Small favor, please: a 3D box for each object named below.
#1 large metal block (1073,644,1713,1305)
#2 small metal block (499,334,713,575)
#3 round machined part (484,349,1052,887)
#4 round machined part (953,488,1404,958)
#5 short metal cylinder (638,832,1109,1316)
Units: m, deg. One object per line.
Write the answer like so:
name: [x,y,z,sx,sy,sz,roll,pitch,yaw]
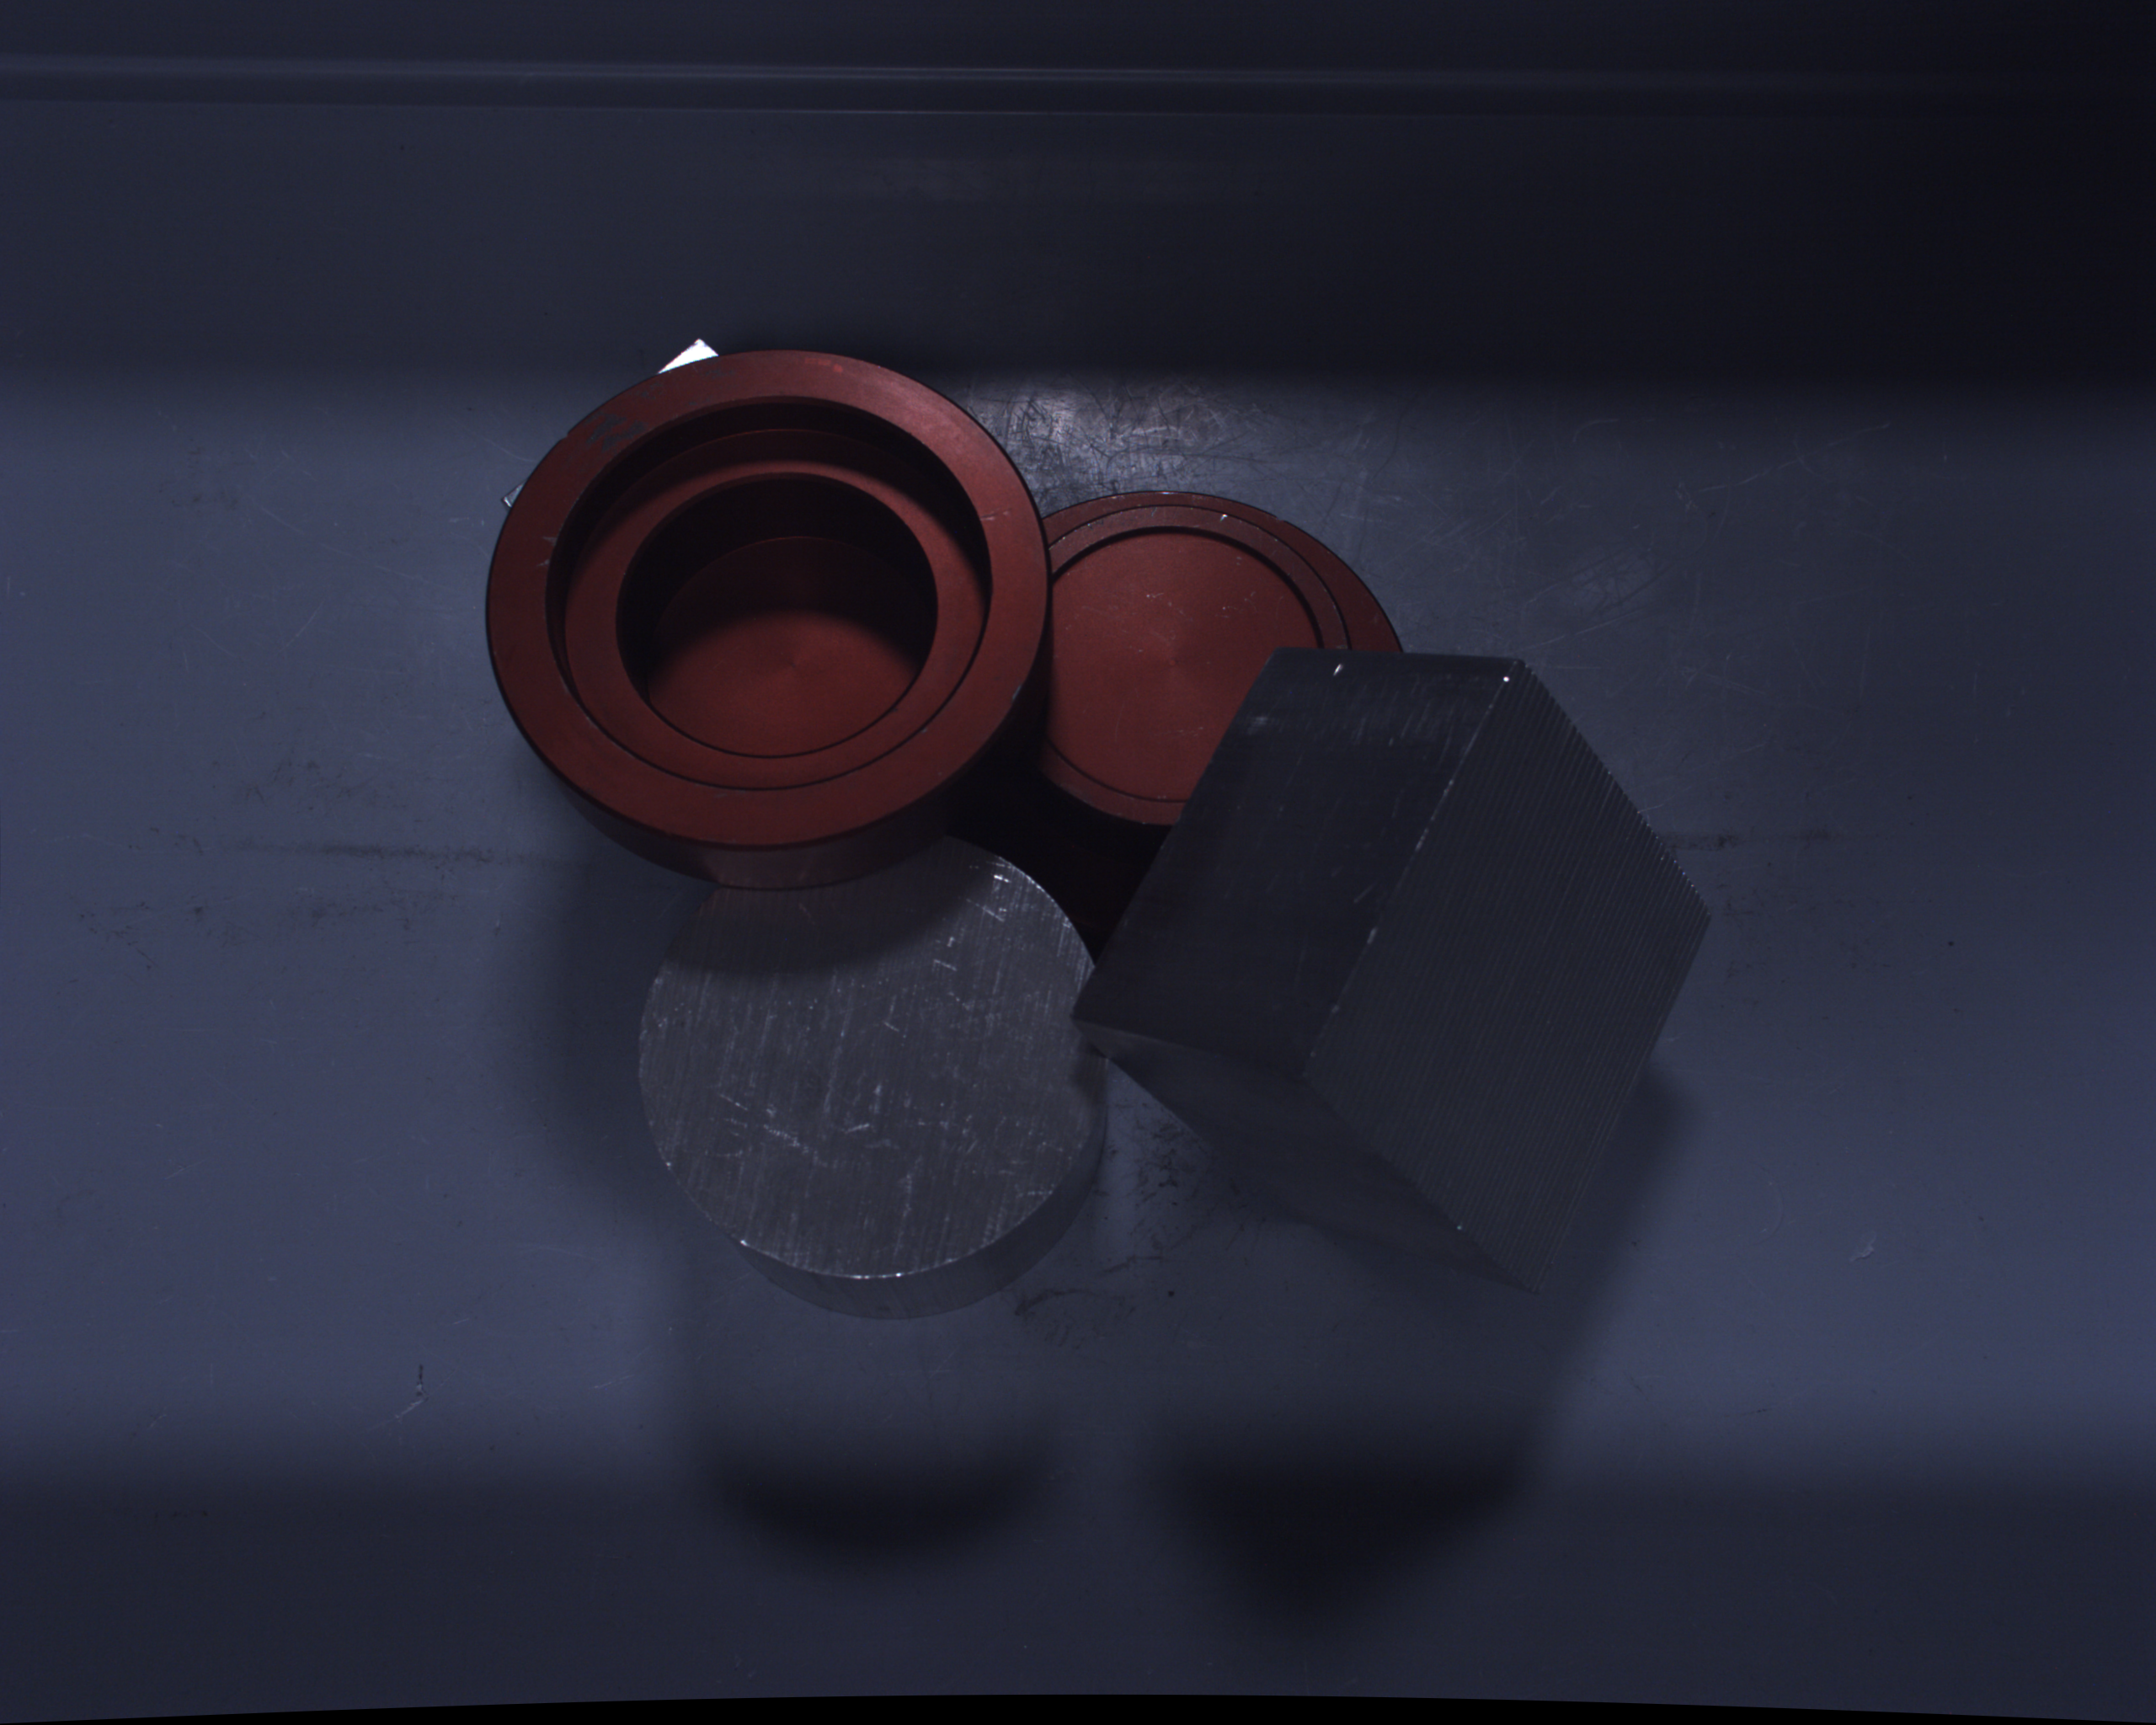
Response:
large metal block: [0.058,0.019,0.365,0.050,0.080,0.080,9,63,47]
small metal block: [-0.082,-0.069,0.418,0.025,0.050,0.050,42,76,13]
round machined part: [-0.054,-0.041,0.382,0.099,0.042,0.098,0,70,-1]
round machined part: [0.018,-0.031,0.409,0.099,0.042,0.098,0,70,-1]
short metal cylinder: [-0.035,0.039,0.380,0.081,0.050,0.080,0,70,0]
